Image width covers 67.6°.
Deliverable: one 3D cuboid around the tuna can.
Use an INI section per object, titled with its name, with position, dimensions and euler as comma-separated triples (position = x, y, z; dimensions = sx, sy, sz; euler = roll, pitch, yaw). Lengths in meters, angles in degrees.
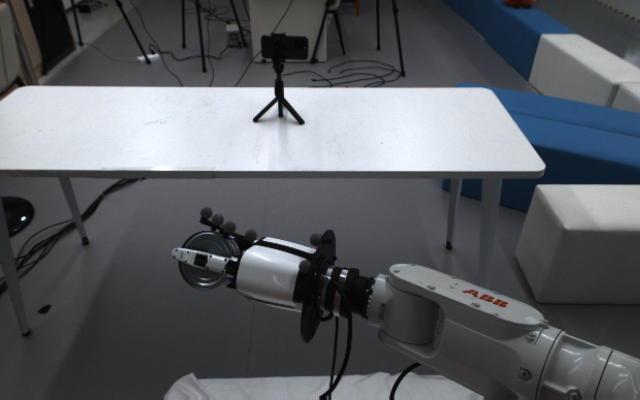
[tuna can]
position = -0.157, 0.088, 0.703
dimensions = 0.085, 0.085, 0.034
euler = 14, -6, 16
